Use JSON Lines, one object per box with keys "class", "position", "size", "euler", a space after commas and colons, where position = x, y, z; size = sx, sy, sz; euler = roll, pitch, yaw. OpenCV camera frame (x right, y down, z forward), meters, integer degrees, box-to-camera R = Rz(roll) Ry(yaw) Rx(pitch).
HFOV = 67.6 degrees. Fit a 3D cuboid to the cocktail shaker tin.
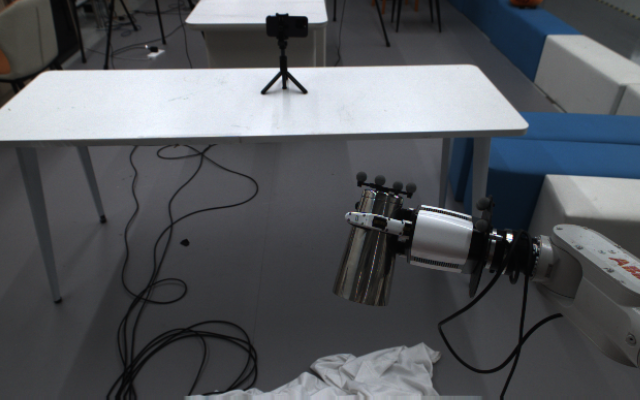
{"class": "cocktail shaker tin", "position": [0.085, 0.069, 0.772], "size": [0.093, 0.170, 0.093], "euler": [13, 1, 0]}
